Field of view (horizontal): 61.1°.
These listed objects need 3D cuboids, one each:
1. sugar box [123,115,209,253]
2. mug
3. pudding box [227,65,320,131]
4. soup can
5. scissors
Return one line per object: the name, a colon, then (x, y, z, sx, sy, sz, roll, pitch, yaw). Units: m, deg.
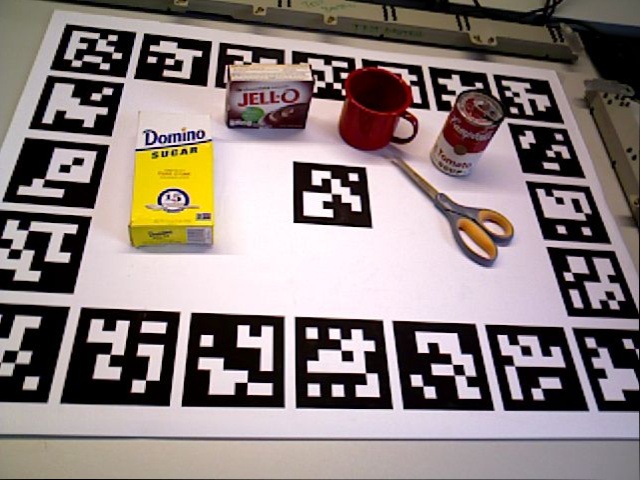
sugar box: (-0.180, -0.070, 0.653, 0.092, 0.046, 0.174, 0, 61, -9)
mug: (0.083, -0.174, 0.737, 0.091, 0.083, 0.117, -31, 68, -23)
pudding box: (-0.062, -0.186, 0.708, 0.112, 0.092, 0.038, -5, 66, -14)
soup can: (0.198, -0.134, 0.732, 0.067, 0.104, 0.067, 4, 57, -8)
scissors: (0.173, -0.036, 0.710, 0.086, 0.016, 0.202, -40, 74, -17)
